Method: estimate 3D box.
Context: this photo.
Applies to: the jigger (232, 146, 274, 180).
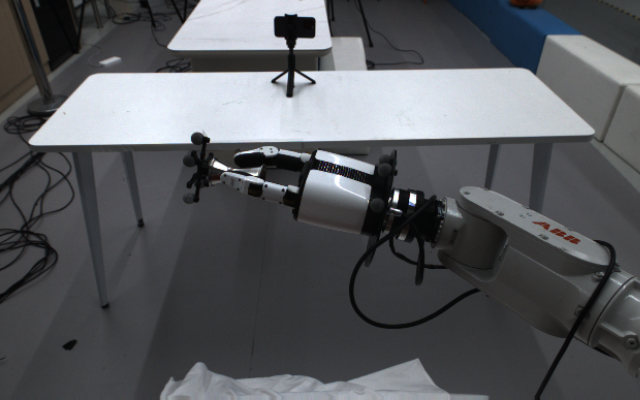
[{"bbox_3d":[-0.103,-0.034,0.649,0.071,0.043,0.043,10,35,3],"label":"jigger"}]
